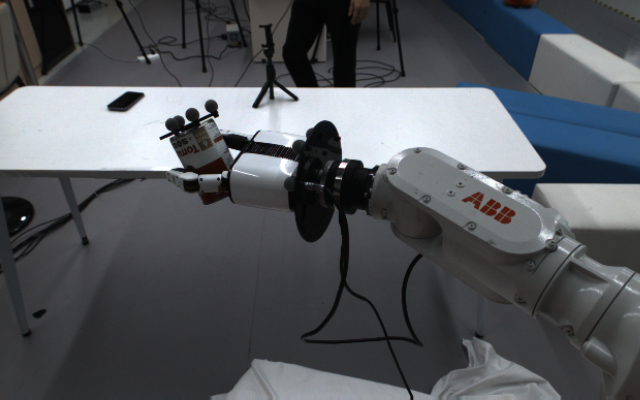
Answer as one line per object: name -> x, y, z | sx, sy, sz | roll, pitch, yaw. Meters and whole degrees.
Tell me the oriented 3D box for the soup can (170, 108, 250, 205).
soup can -> -0.155, -0.052, 0.674 | 0.067, 0.101, 0.067 | -23, 15, 7
